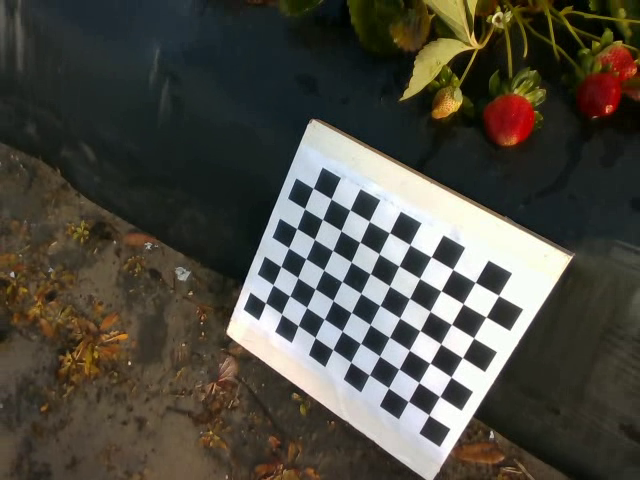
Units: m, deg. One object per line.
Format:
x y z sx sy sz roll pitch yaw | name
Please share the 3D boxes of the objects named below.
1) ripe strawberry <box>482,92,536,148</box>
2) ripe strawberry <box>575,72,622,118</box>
0.172 -0.108 0.591 0.050 0.050 0.065 -12 36 32 | ripe strawberry
0.255 -0.129 0.588 0.041 0.055 0.044 37 -58 -23 | ripe strawberry
